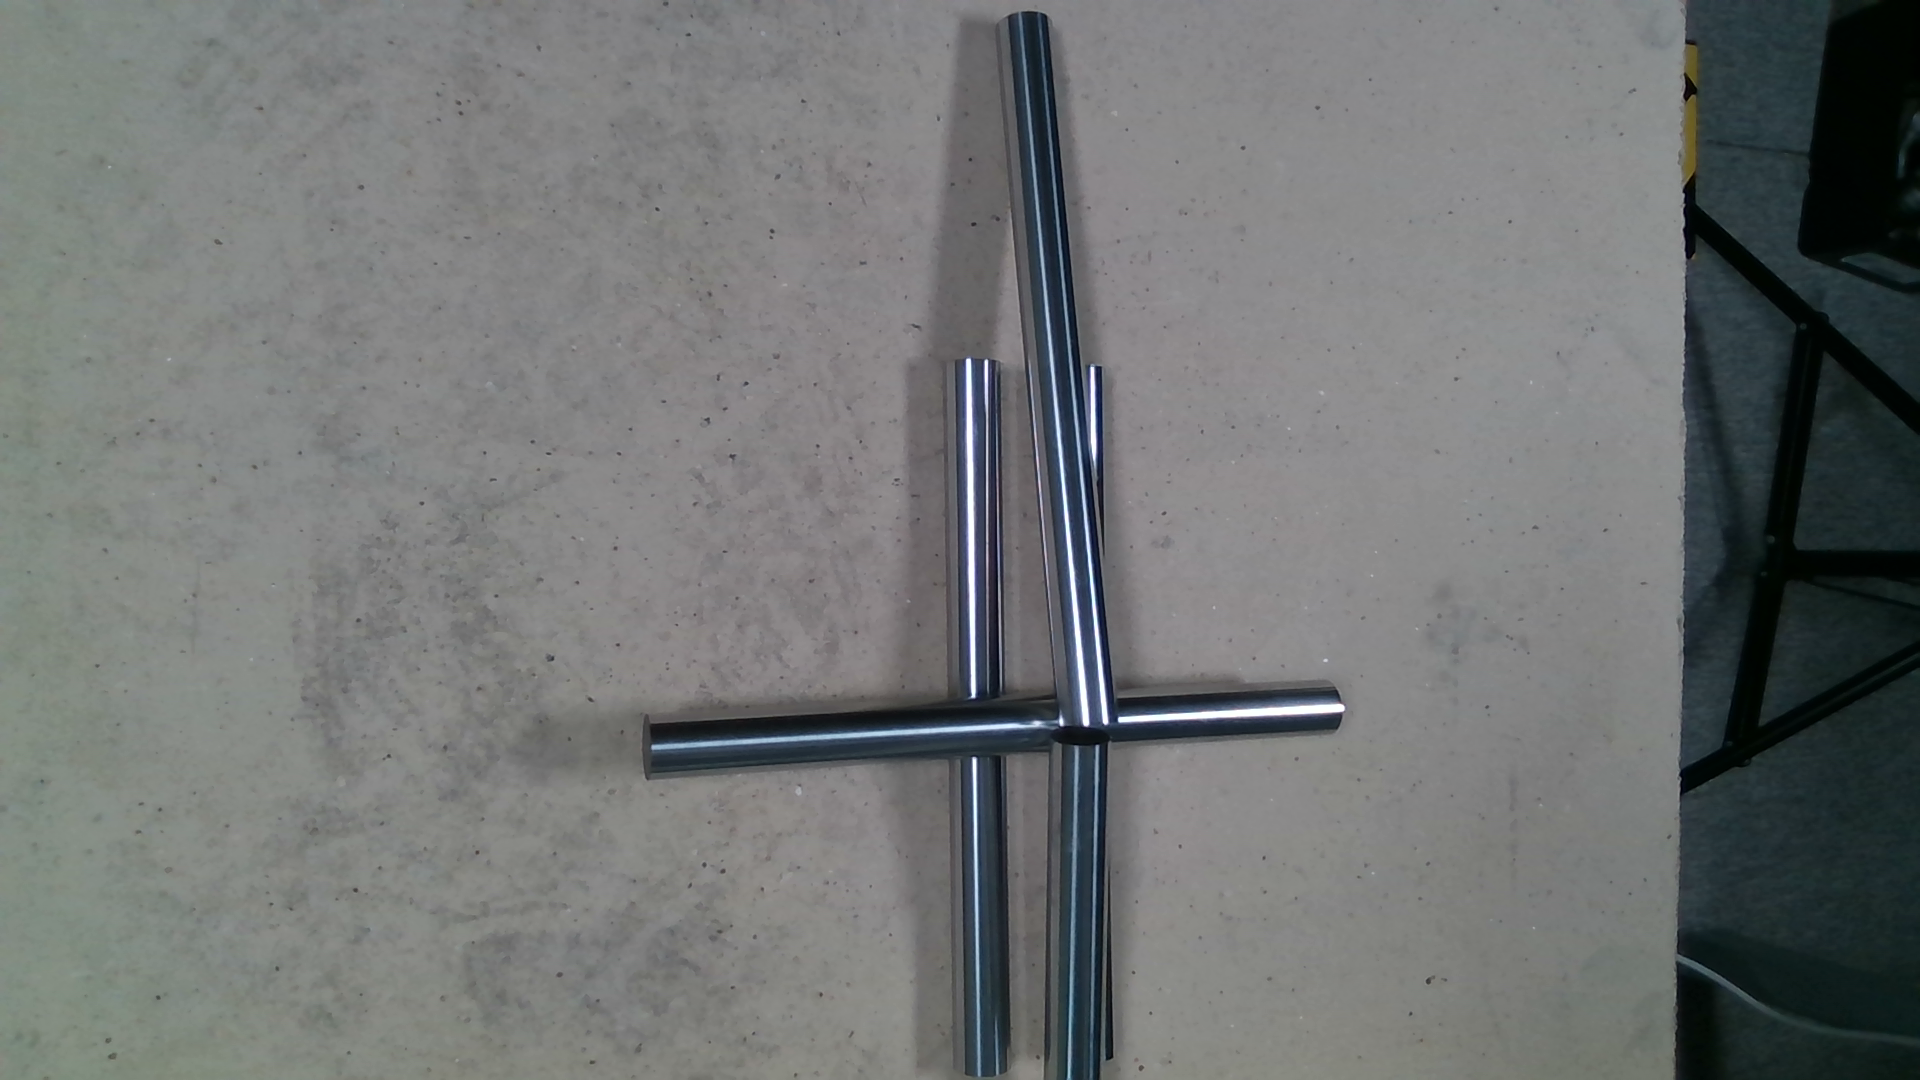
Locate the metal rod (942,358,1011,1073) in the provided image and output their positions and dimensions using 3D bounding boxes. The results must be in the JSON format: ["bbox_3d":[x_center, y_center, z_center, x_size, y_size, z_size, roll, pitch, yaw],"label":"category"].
[{"bbox_3d":[0.007,0.074,0.588,0.025,0.025,0.300,-1,91,-20],"label":"metal rod"}]

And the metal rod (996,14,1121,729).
[{"bbox_3d":[0.040,-0.073,0.574,0.025,0.025,0.300,-2,81,-20],"label":"metal rod"}]

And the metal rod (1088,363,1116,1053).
[{"bbox_3d":[0.054,0.074,0.606,0.025,0.025,0.300,-1,91,-20],"label":"metal rod"}]

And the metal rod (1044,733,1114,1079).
[{"bbox_3d":[0.048,0.225,0.578,0.025,0.025,0.300,-3,101,-20],"label":"metal rod"}]

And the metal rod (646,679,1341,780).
[{"bbox_3d":[0.024,0.076,0.568,0.300,0.025,0.025,-1,90,-20],"label":"metal rod"}]
